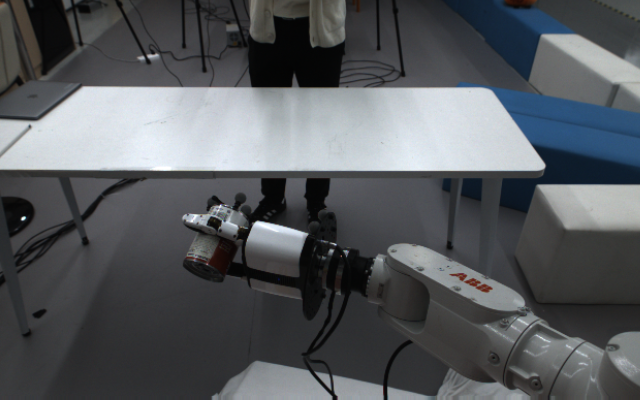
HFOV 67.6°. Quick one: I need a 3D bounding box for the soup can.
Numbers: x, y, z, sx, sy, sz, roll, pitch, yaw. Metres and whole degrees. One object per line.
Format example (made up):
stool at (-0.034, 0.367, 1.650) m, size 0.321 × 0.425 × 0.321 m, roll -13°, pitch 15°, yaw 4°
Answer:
soup can at (-0.157, 0.067, 0.736) m, size 0.067 × 0.067 × 0.101 m, roll 12°, pitch 59°, yaw 14°
